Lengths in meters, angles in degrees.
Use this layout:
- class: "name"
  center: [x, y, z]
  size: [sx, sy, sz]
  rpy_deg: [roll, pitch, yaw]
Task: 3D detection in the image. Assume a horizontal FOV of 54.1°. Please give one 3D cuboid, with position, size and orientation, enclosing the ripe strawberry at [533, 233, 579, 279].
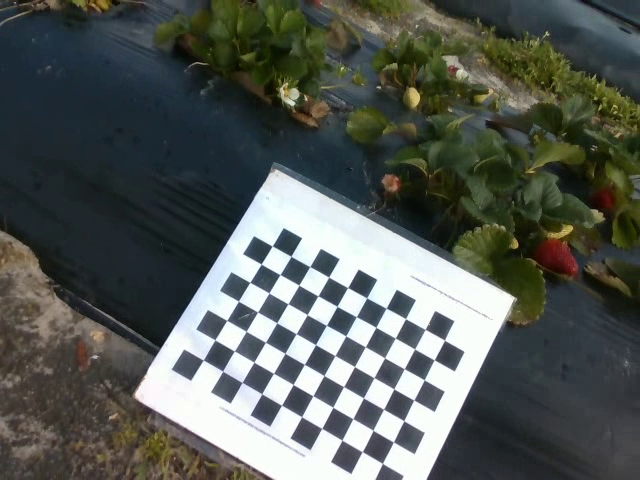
- class: "ripe strawberry"
  center: [0.266, 0.013, 0.680]
  size: [0.050, 0.064, 0.043]
  rpy_deg: [-27, -13, -10]
